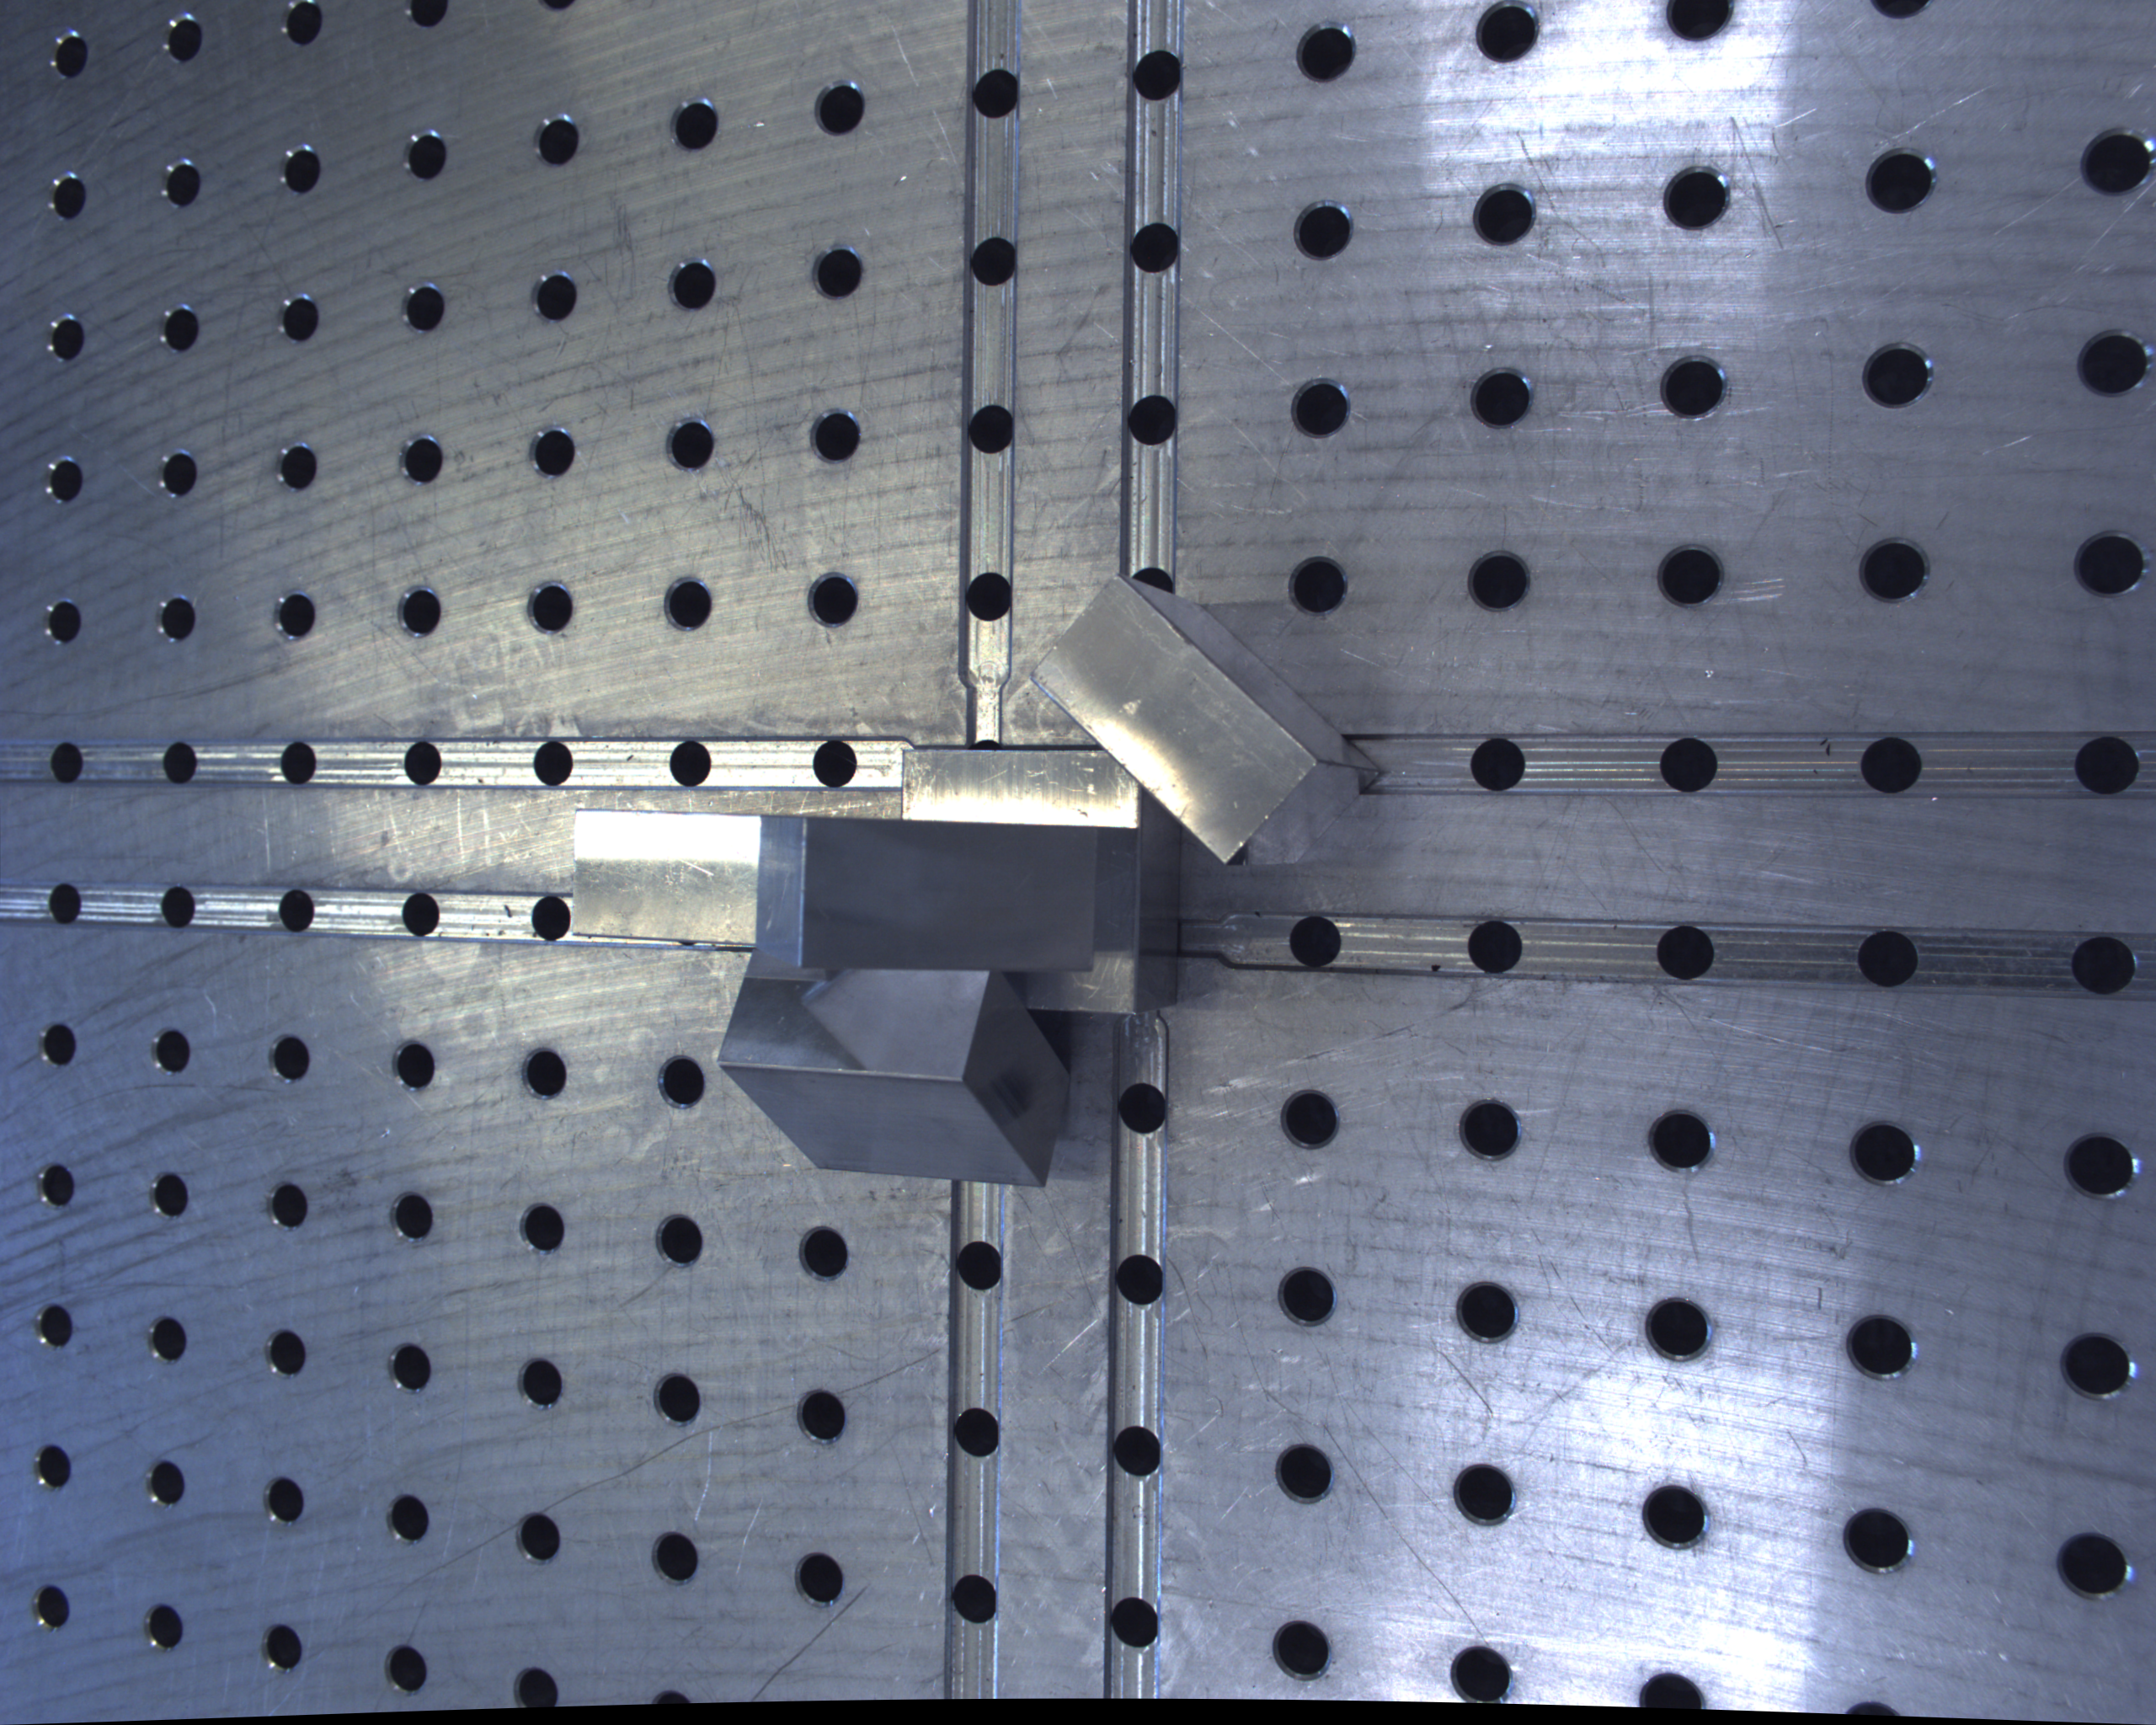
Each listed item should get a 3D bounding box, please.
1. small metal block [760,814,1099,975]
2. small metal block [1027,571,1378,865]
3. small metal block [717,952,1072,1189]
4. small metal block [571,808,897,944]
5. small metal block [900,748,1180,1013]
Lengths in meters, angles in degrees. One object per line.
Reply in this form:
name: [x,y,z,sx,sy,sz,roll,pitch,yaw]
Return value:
small metal block: [-0.028,0.005,0.372,0.050,0.050,0.025,2,92,-17]
small metal block: [0.025,-0.026,0.391,0.050,0.050,0.025,45,103,14]
small metal block: [-0.034,0.041,0.409,0.050,0.050,0.025,1,59,20]
small metal block: [-0.066,0.002,0.423,0.050,0.050,0.025,2,91,20]
small metal block: [-0.008,0.003,0.416,0.050,0.025,0.050,2,90,19]
